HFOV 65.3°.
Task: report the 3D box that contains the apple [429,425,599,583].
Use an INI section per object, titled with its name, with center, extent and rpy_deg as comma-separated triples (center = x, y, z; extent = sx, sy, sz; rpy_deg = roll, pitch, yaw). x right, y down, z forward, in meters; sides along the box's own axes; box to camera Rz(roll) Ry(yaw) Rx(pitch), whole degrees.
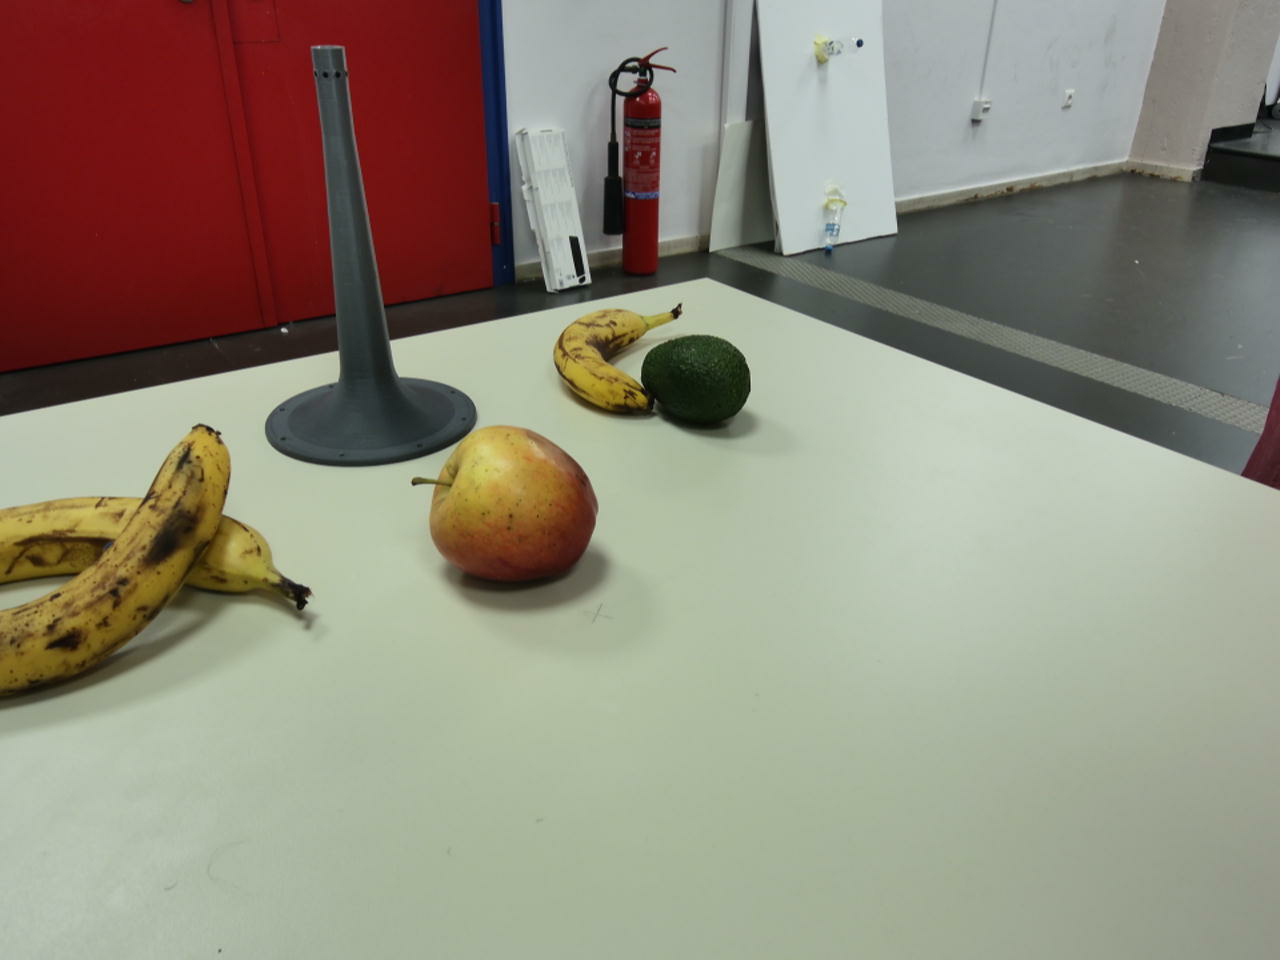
[apple]
center = -0.071, 0.014, 0.549
extent = 0.093, 0.084, 0.086
rpy_deg = 7, 27, 16
